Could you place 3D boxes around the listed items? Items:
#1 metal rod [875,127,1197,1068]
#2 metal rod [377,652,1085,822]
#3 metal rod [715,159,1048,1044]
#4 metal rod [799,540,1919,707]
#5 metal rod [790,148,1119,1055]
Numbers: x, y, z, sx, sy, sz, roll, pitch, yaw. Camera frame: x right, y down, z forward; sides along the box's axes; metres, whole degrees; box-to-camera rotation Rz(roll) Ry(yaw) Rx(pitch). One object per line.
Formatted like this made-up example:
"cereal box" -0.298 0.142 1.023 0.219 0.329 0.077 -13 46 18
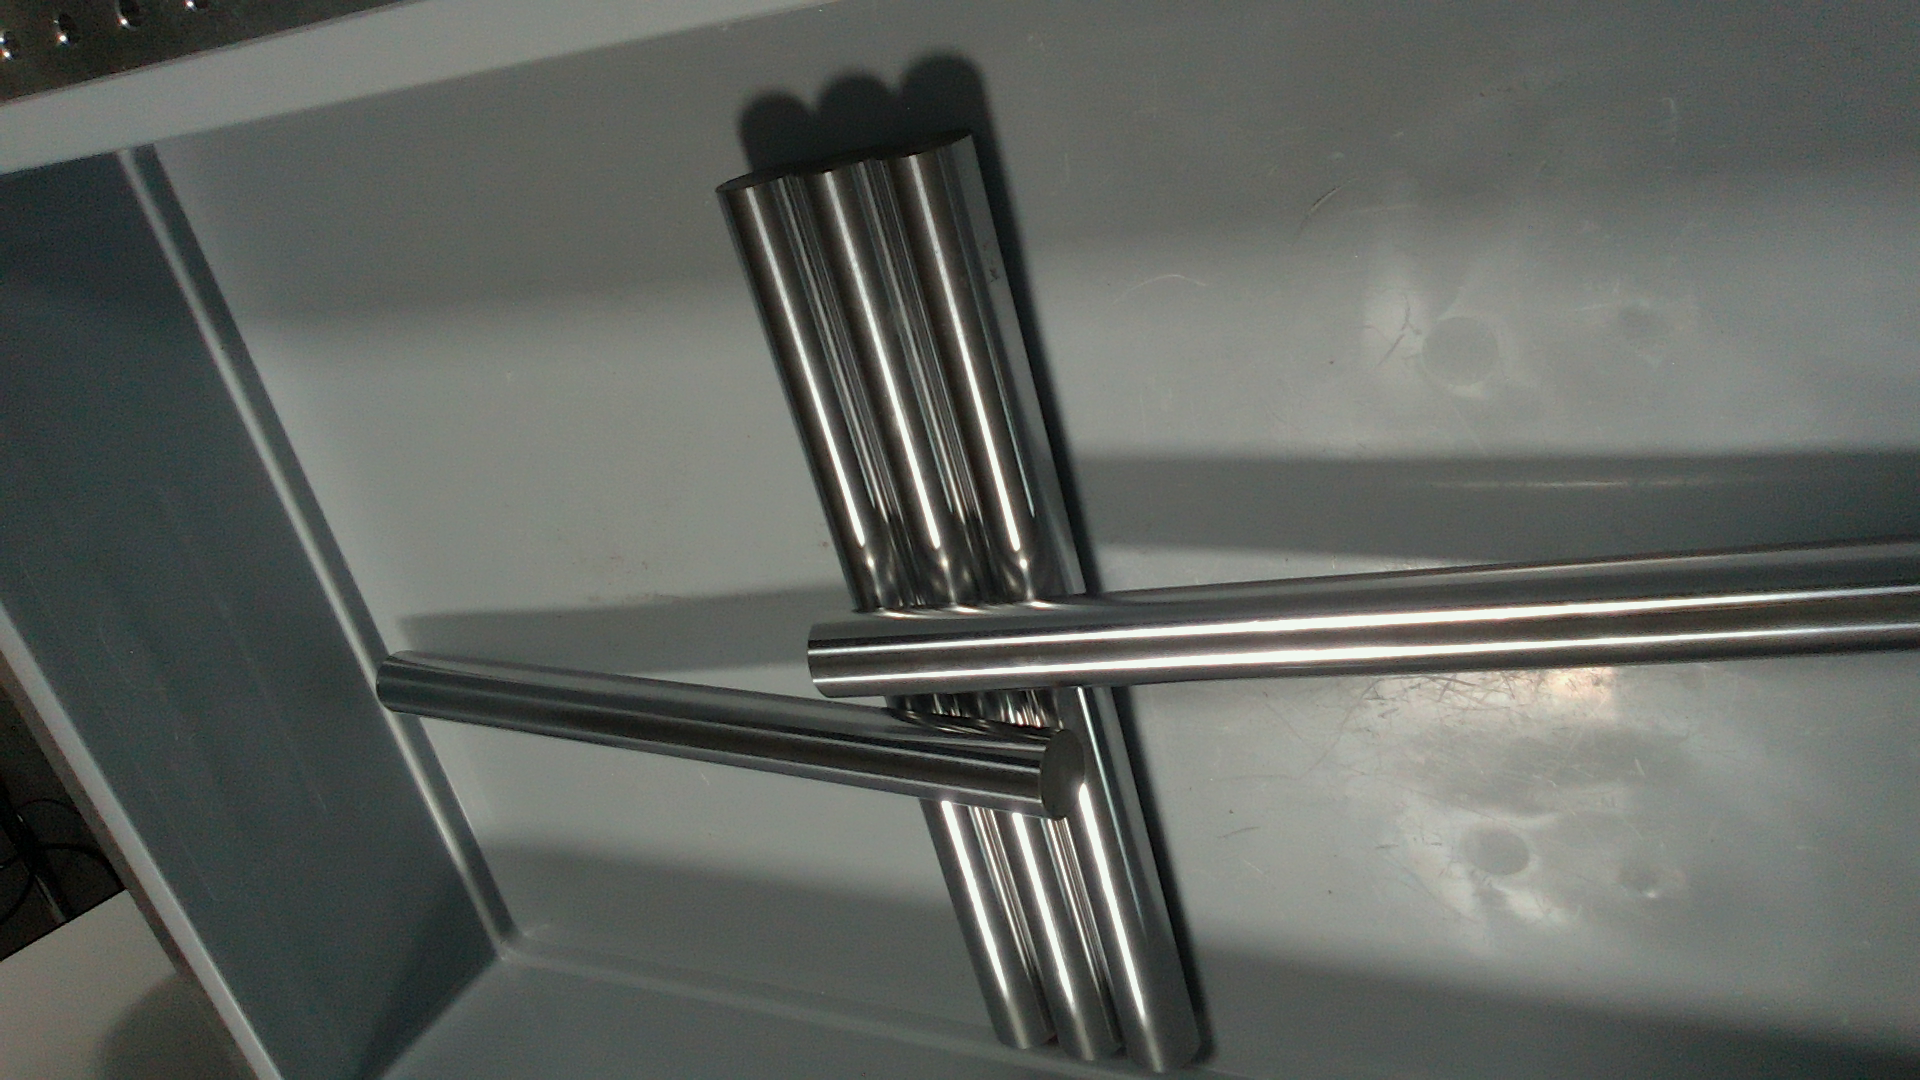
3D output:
"metal rod" 0.029 0.035 0.398 0.025 0.025 0.300 -2 118 29
"metal rod" -0.096 0.060 0.459 0.299 0.025 0.025 2 120 34
"metal rod" -0.015 0.036 0.422 0.025 0.025 0.300 -2 118 29
"metal rod" 0.097 0.022 0.331 0.299 0.025 0.025 -5 116 24
"metal rod" 0.007 0.035 0.410 0.025 0.025 0.300 -2 118 29
